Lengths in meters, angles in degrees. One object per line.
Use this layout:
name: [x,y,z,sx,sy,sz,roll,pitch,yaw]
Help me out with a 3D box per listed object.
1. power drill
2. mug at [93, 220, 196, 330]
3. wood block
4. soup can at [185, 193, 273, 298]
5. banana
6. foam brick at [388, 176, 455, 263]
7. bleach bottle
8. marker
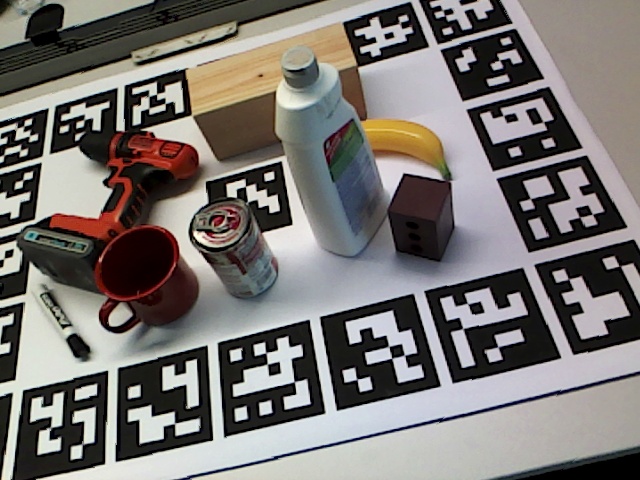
power drill: [-0.261,-0.048,0.786,0.185,0.057,0.187,12,60,18]
mug: [-0.195,0.047,0.683,0.094,0.081,0.117,25,69,25]
wood block: [-0.053,-0.184,0.797,0.206,0.090,0.090,-16,56,4]
soup can: [-0.095,0.008,0.664,0.068,0.101,0.068,-7,51,9]
banana: [0.044,-0.121,0.757,0.198,0.038,0.074,-1,71,12]
foam brick: [0.108,-0.021,0.654,0.053,0.077,0.051,14,60,25]
bleach bottle: [0.007,-0.085,0.616,0.068,0.249,0.102,10,59,21]
marker: [-0.299,0.098,0.719,0.019,0.019,0.122,-41,57,-11]
